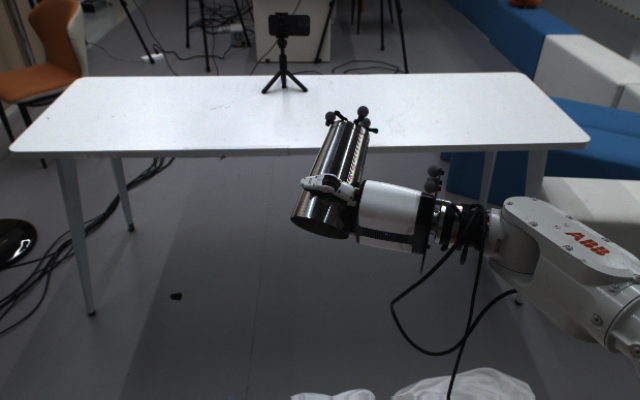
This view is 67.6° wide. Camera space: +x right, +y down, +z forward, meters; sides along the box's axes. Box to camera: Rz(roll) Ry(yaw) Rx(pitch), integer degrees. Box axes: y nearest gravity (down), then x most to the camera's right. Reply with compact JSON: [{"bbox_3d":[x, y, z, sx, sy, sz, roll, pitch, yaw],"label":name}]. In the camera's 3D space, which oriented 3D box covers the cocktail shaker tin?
[{"bbox_3d":[0.021,-0.035,0.753,0.093,0.093,0.170,14,72,17],"label":"cocktail shaker tin"}]
